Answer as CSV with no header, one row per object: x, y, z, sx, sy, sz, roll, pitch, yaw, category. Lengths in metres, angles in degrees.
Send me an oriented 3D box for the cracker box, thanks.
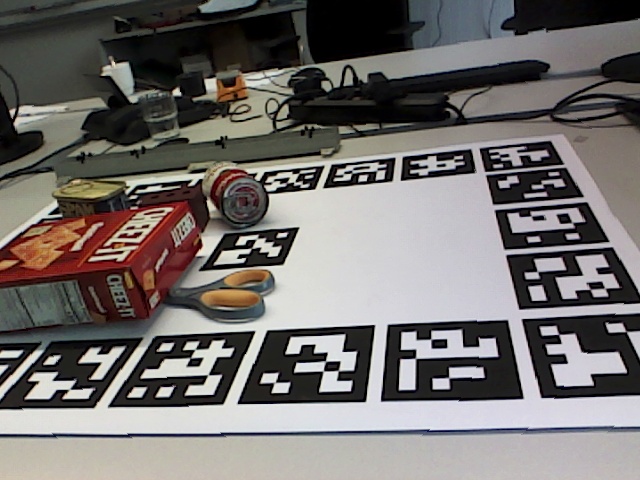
-0.267,0.026,0.692,0.214,0.072,0.164,-10,26,11,cracker box

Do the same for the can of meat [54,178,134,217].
-0.294,-0.033,0.828,0.102,0.083,0.057,4,31,25,can of meat

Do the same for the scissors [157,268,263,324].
-0.156,0.063,0.649,0.203,0.016,0.088,-6,28,9,scissors

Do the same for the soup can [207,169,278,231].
-0.108,-0.057,0.846,0.067,0.067,0.103,-22,24,-20,soup can

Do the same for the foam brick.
-0.192,-0.038,0.842,0.078,0.051,0.053,-9,28,4,foam brick
